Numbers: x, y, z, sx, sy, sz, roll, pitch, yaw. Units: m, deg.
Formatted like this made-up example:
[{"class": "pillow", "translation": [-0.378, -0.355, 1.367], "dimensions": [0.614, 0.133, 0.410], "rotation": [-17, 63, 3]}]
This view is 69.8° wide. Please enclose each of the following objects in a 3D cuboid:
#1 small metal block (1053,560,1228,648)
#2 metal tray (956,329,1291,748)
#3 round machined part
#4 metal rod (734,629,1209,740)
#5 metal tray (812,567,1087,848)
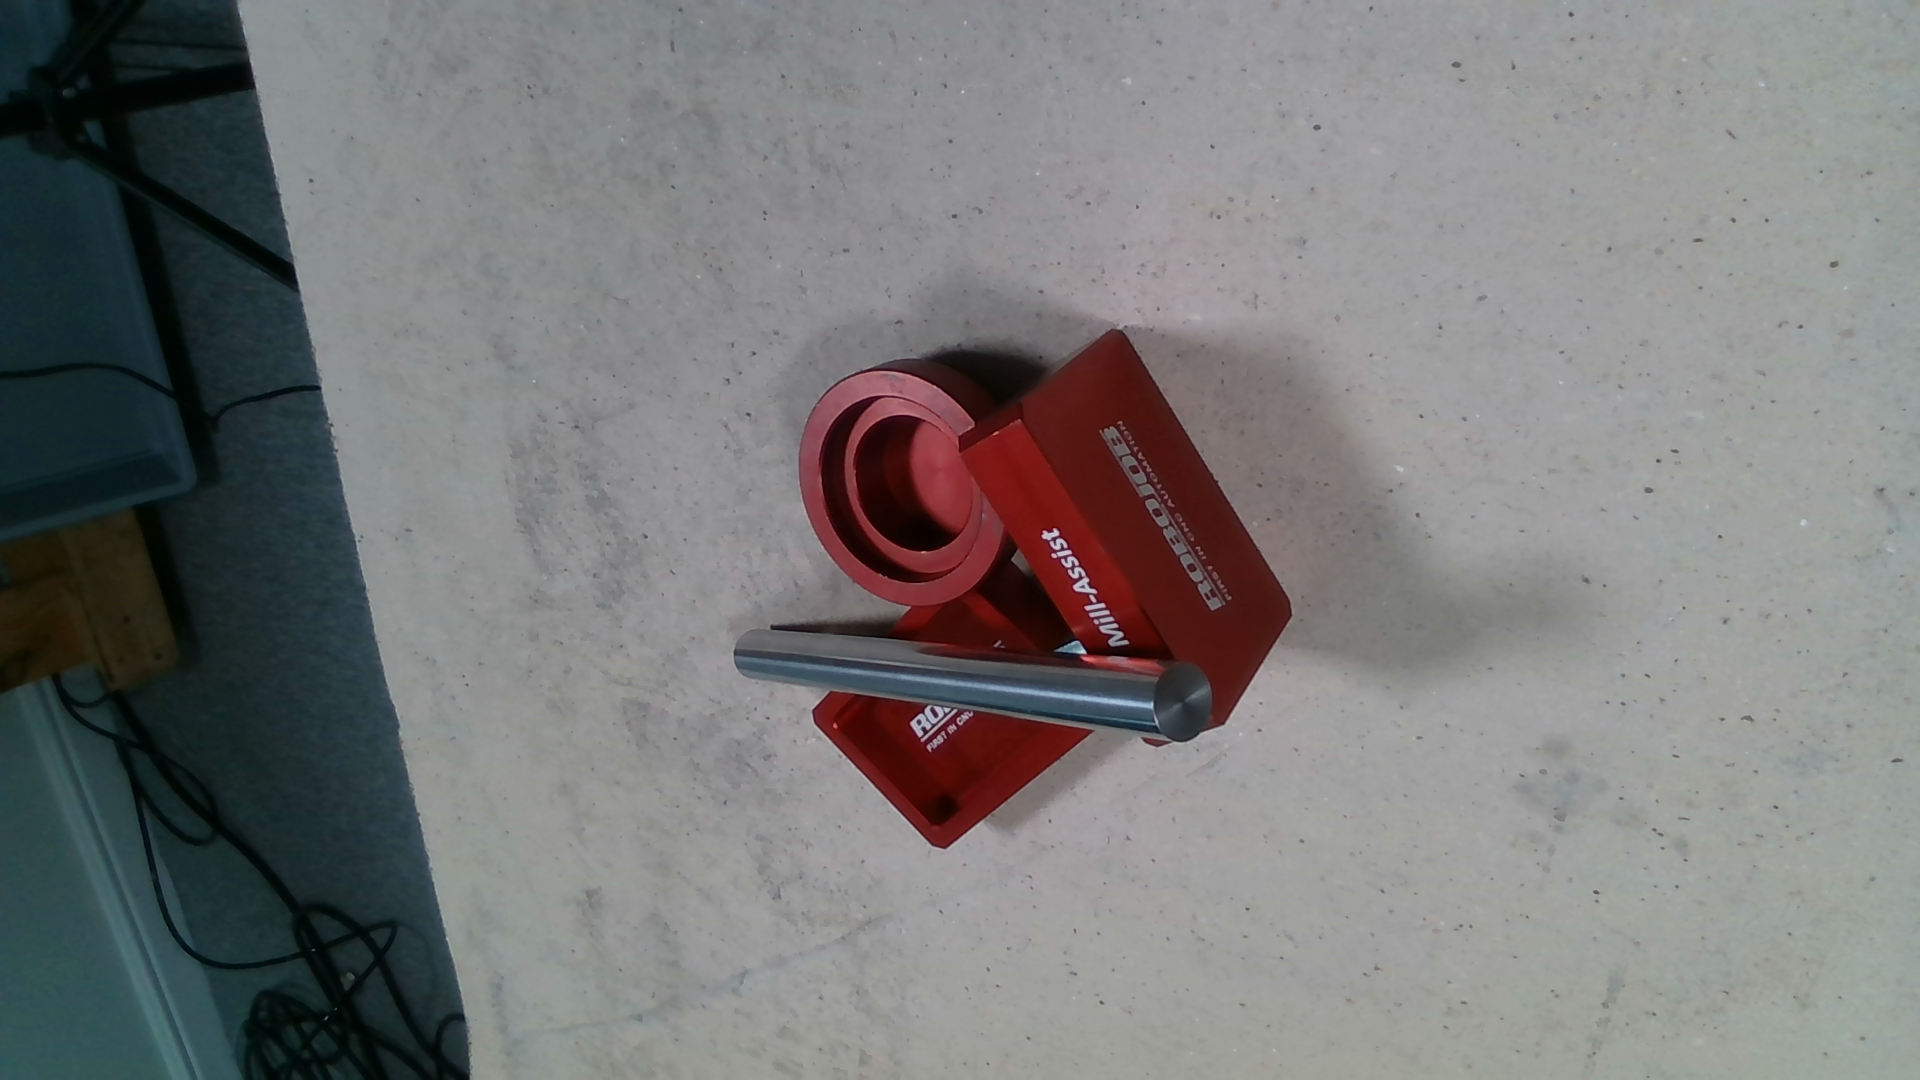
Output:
[{"class": "small metal block", "translation": [0.067, 0.035, 0.535], "dimensions": [0.025, 0.050, 0.050], "rotation": [55, 143, -2]}, {"class": "metal tray", "translation": [0.063, -0.003, 0.497], "dimensions": [0.030, 0.090, 0.130], "rotation": [-27, 99, 39]}, {"class": "round machined part", "translation": [-0.014, -0.026, 0.559], "dimensions": [0.098, 0.042, 0.098], "rotation": [13, 115, 29]}, {"class": "metal rod", "translation": [-0.016, 0.052, 0.549], "dimensions": [0.300, 0.025, 0.025], "rotation": [-2, 116, 56]}, {"class": "metal tray", "translation": [0.001, 0.072, 0.616], "dimensions": [0.090, 0.030, 0.130], "rotation": [46, 129, 2]}]
